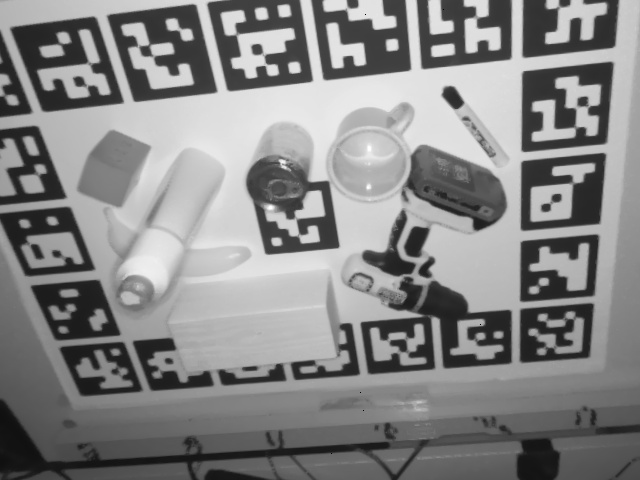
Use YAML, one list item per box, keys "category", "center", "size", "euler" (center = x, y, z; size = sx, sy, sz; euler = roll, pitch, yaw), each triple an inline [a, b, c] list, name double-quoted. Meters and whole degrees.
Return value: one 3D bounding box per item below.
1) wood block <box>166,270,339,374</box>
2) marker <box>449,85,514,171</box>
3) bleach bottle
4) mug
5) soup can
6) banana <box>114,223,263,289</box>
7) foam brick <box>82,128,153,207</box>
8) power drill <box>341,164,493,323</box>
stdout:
- category: "wood block"
  center: [-0.083, 0.110, 0.921]
  size: [0.206, 0.092, 0.089]
  euler: [-6, 119, 6]
- category: "marker"
  center: [0.188, -0.131, 0.810]
  size: [0.019, 0.020, 0.121]
  euler: [-34, 112, 18]
- category: "bleach bottle"
  center: [-0.160, -0.009, 0.761]
  size: [0.068, 0.253, 0.101]
  euler: [21, 121, -9]
- category: "mug"
  center: [0.071, -0.101, 0.793]
  size: [0.093, 0.082, 0.116]
  euler: [34, 113, -13]
- category: "soup can"
  center: [-0.036, -0.080, 0.793]
  size: [0.068, 0.103, 0.067]
  euler: [2, 125, 4]
- category: "banana"
  center: [-0.174, 0.029, 0.904]
  size: [0.197, 0.039, 0.074]
  euler: [10, 106, 0]
- category: "foam brick"
  center: [-0.239, -0.087, 0.822]
  size: [0.053, 0.079, 0.050]
  euler: [24, 121, -12]
- category: "power drill"
  center: [0.139, 0.010, 0.876]
  size: [0.185, 0.058, 0.184]
  euler: [22, 120, -6]
